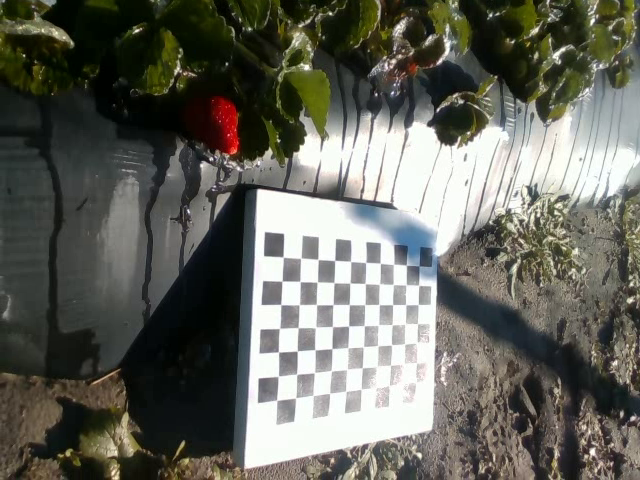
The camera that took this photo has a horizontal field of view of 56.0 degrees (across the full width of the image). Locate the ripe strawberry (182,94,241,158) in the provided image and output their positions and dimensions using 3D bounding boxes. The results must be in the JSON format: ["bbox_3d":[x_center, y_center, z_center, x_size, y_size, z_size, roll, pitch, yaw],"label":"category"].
[{"bbox_3d":[-0.072,-0.080,0.422,0.041,0.053,0.047,-3,-36,-41],"label":"ripe strawberry"}]
